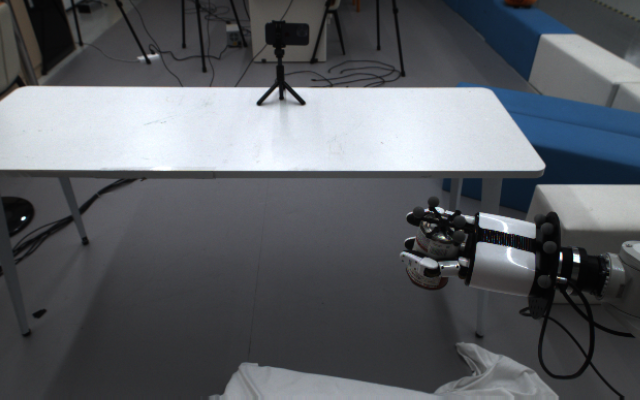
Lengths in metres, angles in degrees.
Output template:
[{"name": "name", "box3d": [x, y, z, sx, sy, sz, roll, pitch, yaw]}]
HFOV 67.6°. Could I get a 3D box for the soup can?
[{"name": "soup can", "box3d": [0.177, 0.079, 0.744, 0.067, 0.101, 0.067, 5, 36, -4]}]
